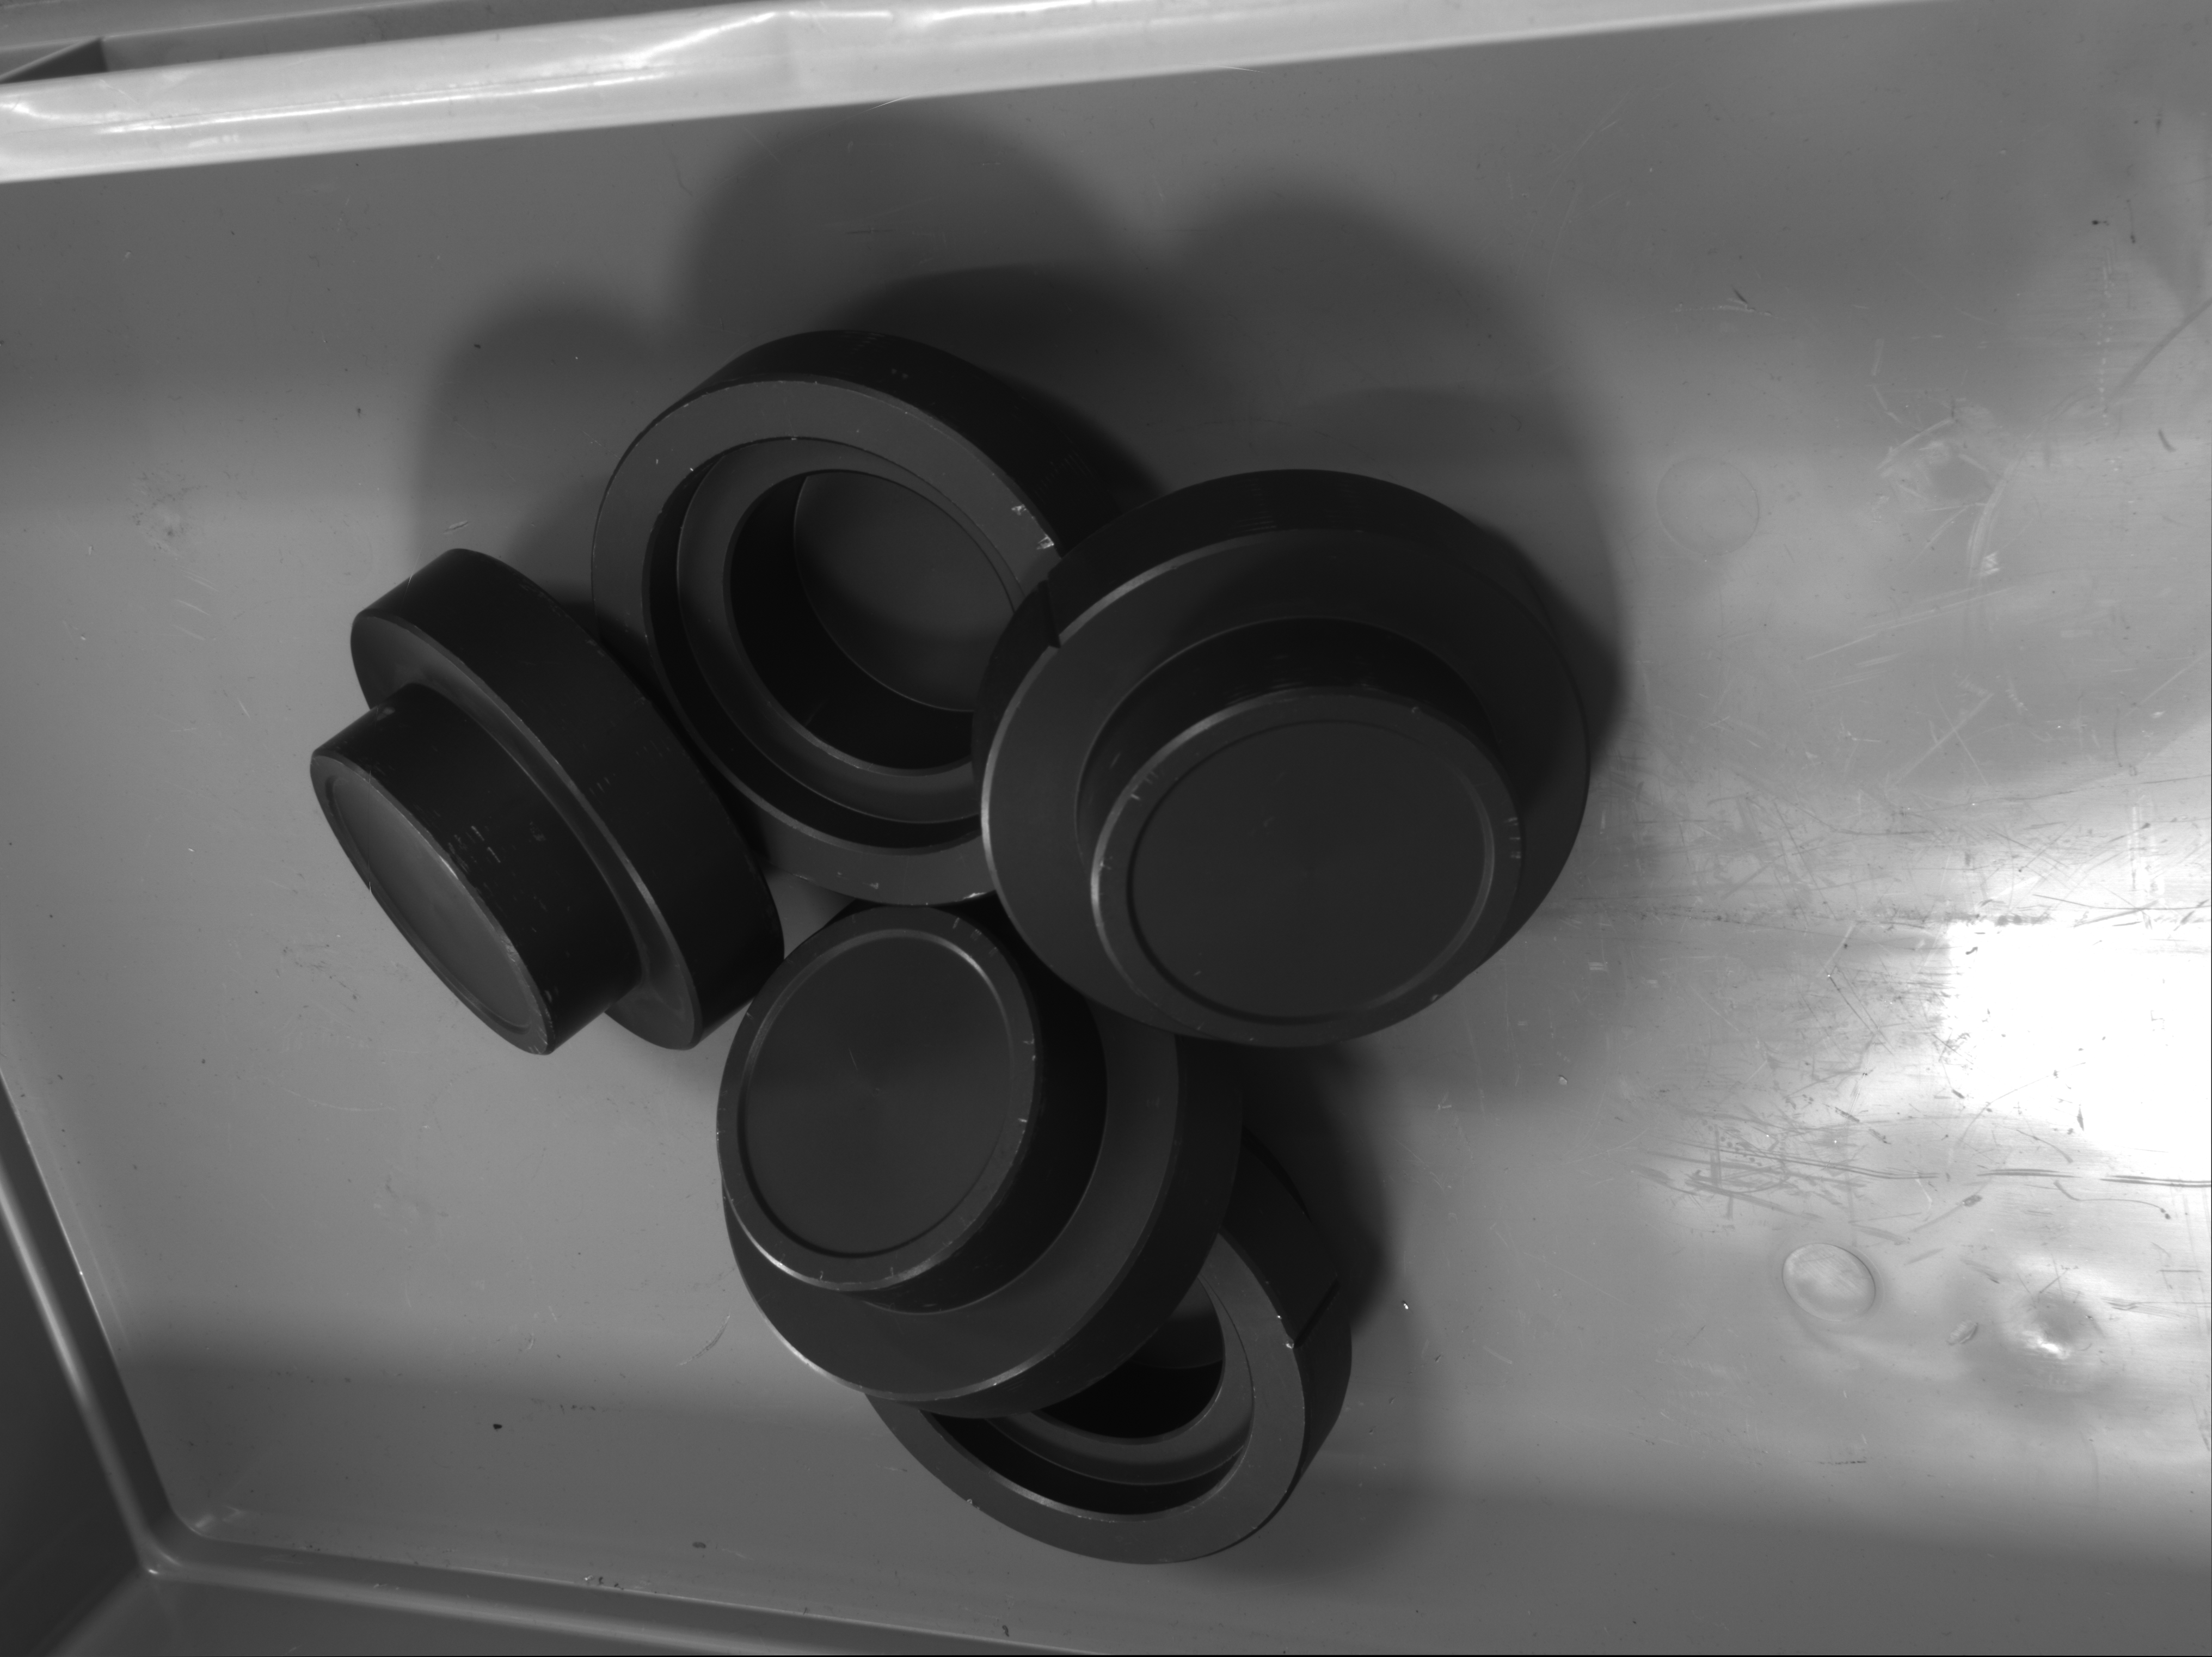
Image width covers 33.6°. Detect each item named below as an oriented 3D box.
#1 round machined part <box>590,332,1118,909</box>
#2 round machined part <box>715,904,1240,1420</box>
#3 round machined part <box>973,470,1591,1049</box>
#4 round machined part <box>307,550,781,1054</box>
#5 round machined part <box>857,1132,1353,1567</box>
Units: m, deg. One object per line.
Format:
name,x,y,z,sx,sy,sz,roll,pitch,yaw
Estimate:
round machined part,-0.035,-0.039,0.624,0.098,0.042,0.098,13,124,21
round machined part,-0.029,0.051,0.640,0.098,0.098,0.042,-7,159,31
round machined part,0.029,-0.004,0.583,0.098,0.042,0.098,-4,125,-6
round machined part,-0.106,0.002,0.660,0.098,0.042,0.098,41,156,23
round machined part,0.001,0.085,0.681,0.098,0.042,0.098,13,124,21
